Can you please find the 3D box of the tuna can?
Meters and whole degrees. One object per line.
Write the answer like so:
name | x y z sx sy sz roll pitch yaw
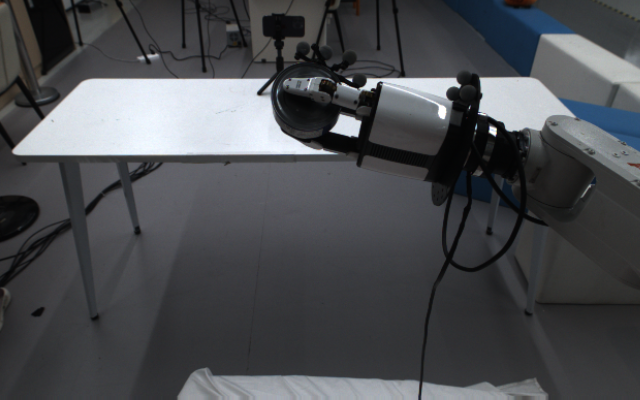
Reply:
tuna can | -0.015 -0.119 0.580 0.085 0.034 0.085 1 75 -4
